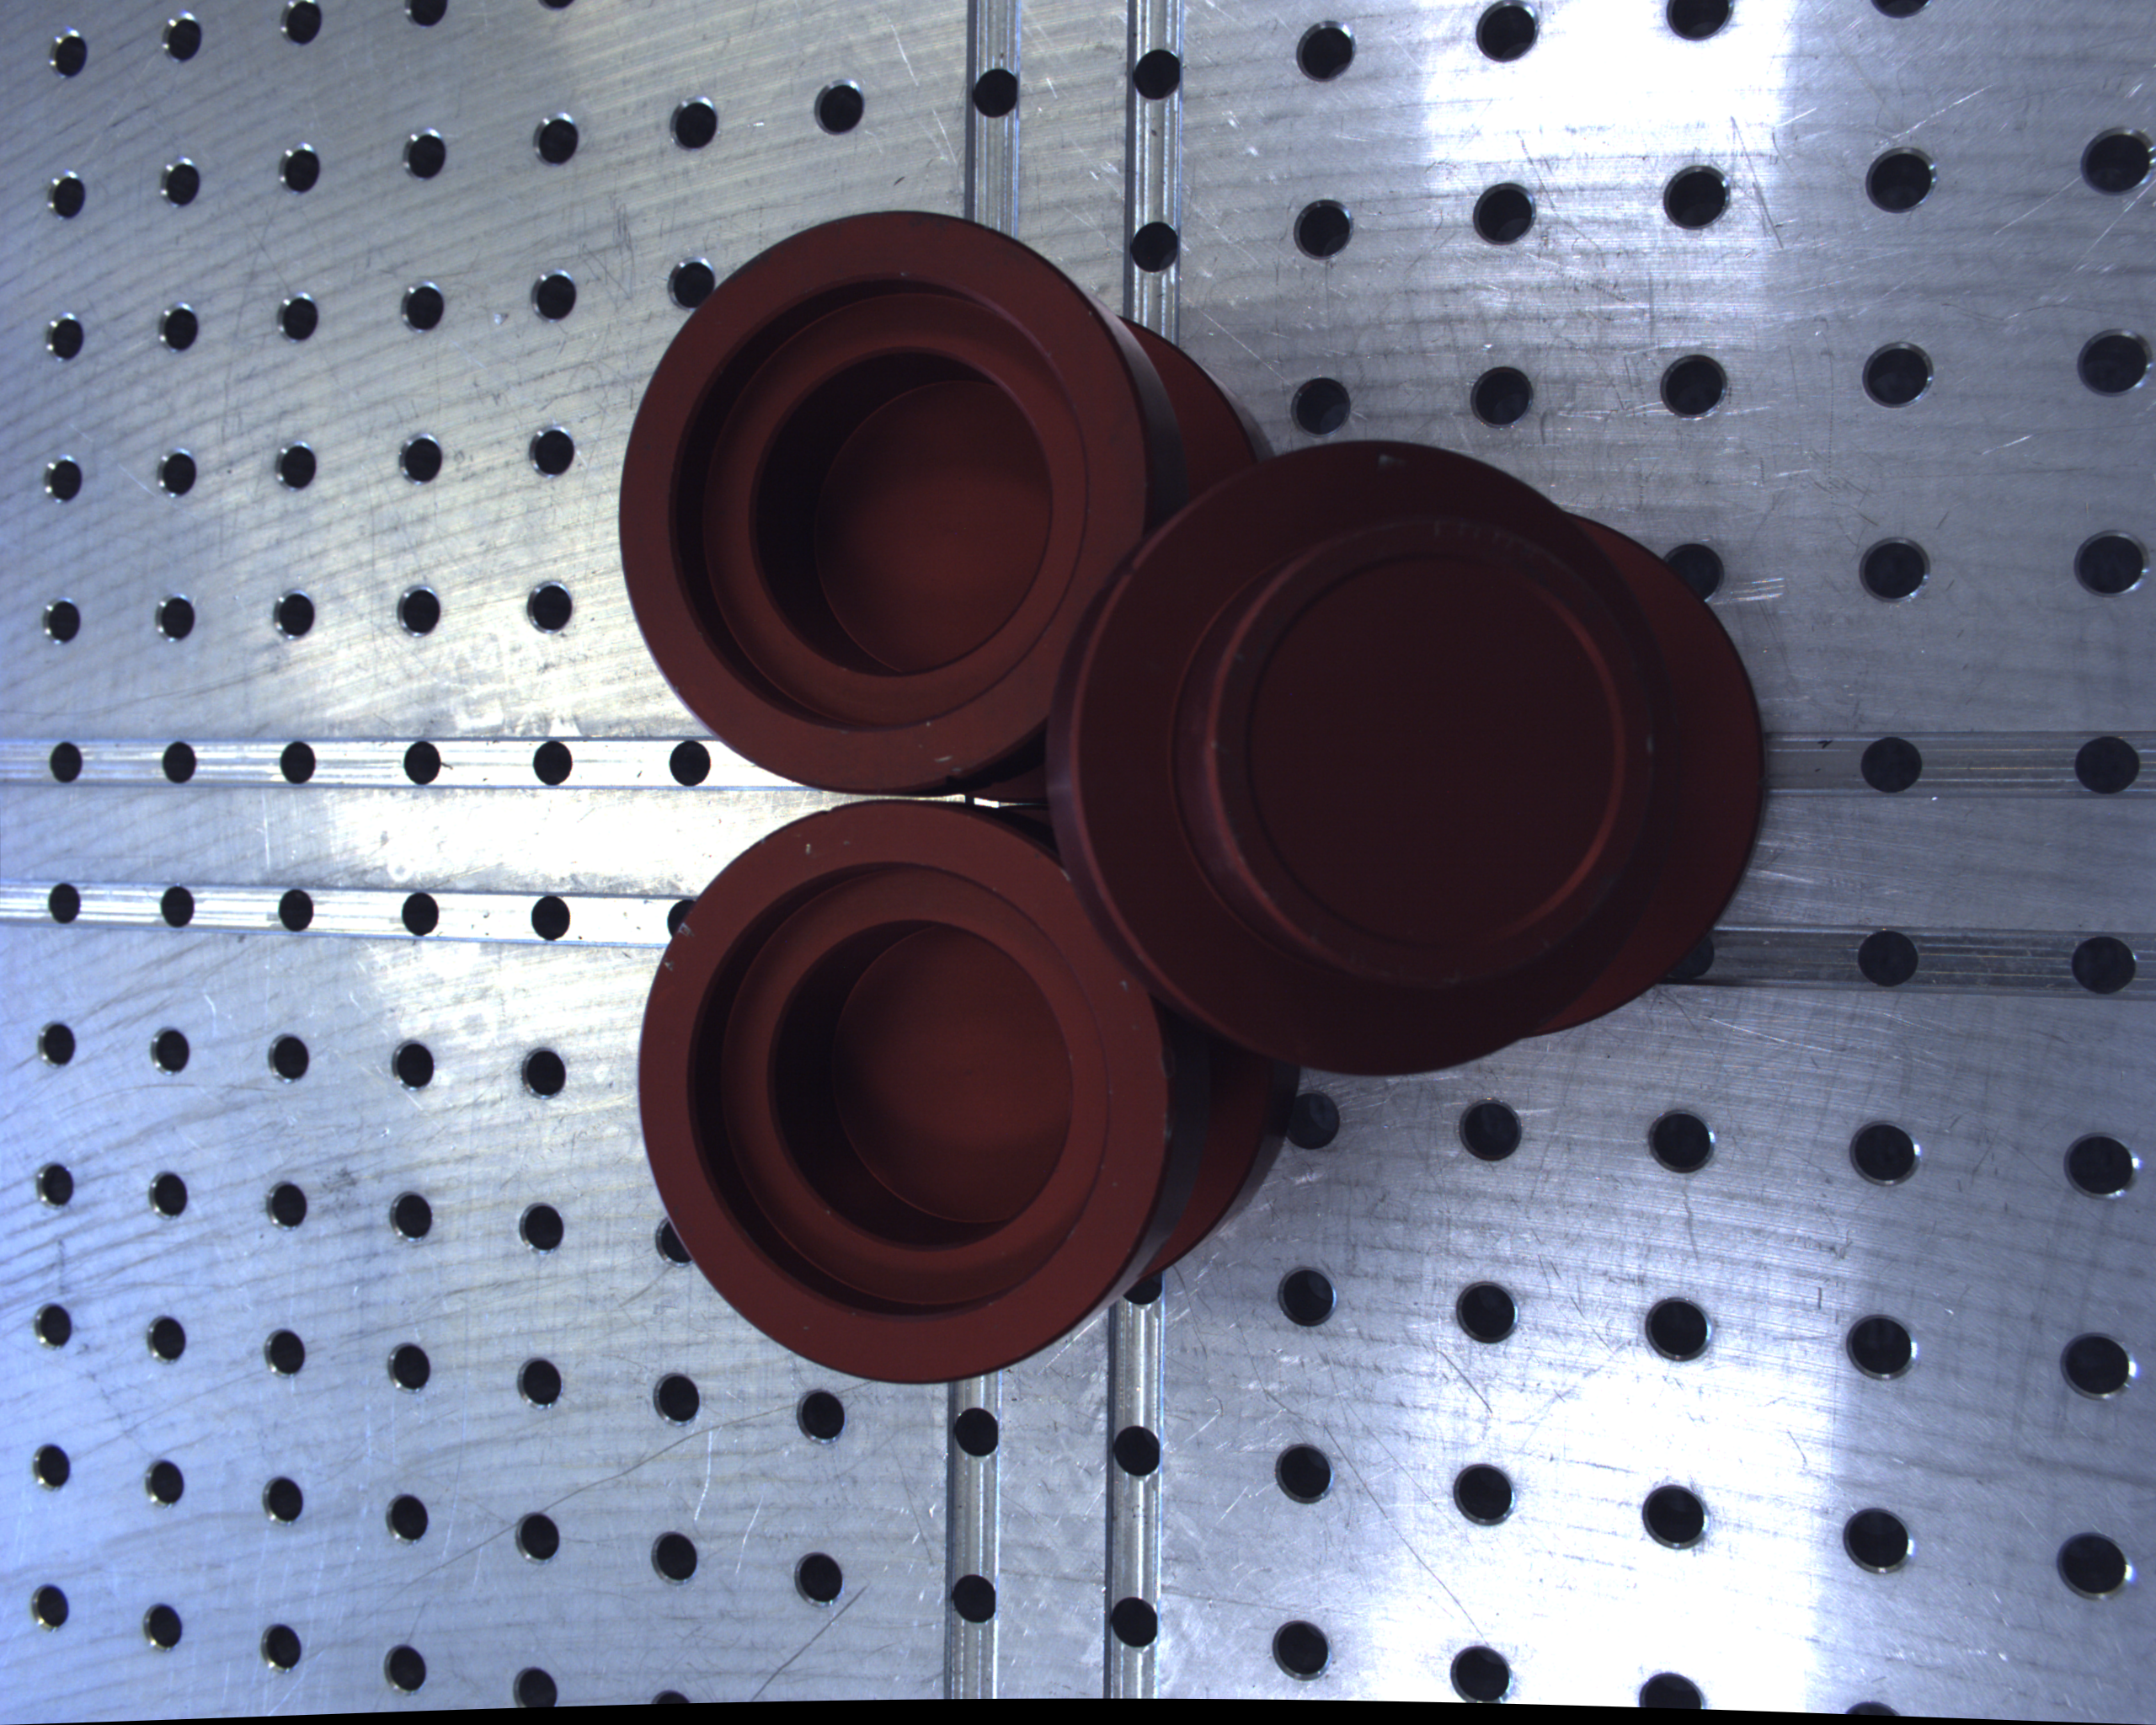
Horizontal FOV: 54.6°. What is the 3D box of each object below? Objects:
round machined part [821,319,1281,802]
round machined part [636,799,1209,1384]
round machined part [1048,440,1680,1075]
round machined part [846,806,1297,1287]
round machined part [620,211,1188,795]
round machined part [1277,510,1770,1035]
[{"bbox_3d":[-0.011,-0.061,0.409,0.098,0.042,0.097,0,90,20],"label":"round machined part"},{"bbox_3d":[-0.024,0.038,0.367,0.098,0.042,0.097,0,90,20],"label":"round machined part"},{"bbox_3d":[0.048,-0.016,0.319,0.099,0.042,0.097,0,89,-12],"label":"round machined part"},{"bbox_3d":[-0.010,0.038,0.408,0.098,0.042,0.097,0,90,20],"label":"round machined part"},{"bbox_3d":[-0.027,-0.060,0.368,0.098,0.042,0.097,0,90,20],"label":"round machined part"},{"bbox_3d":[0.073,-0.017,0.378,0.098,0.042,0.097,0,90,20],"label":"round machined part"}]
